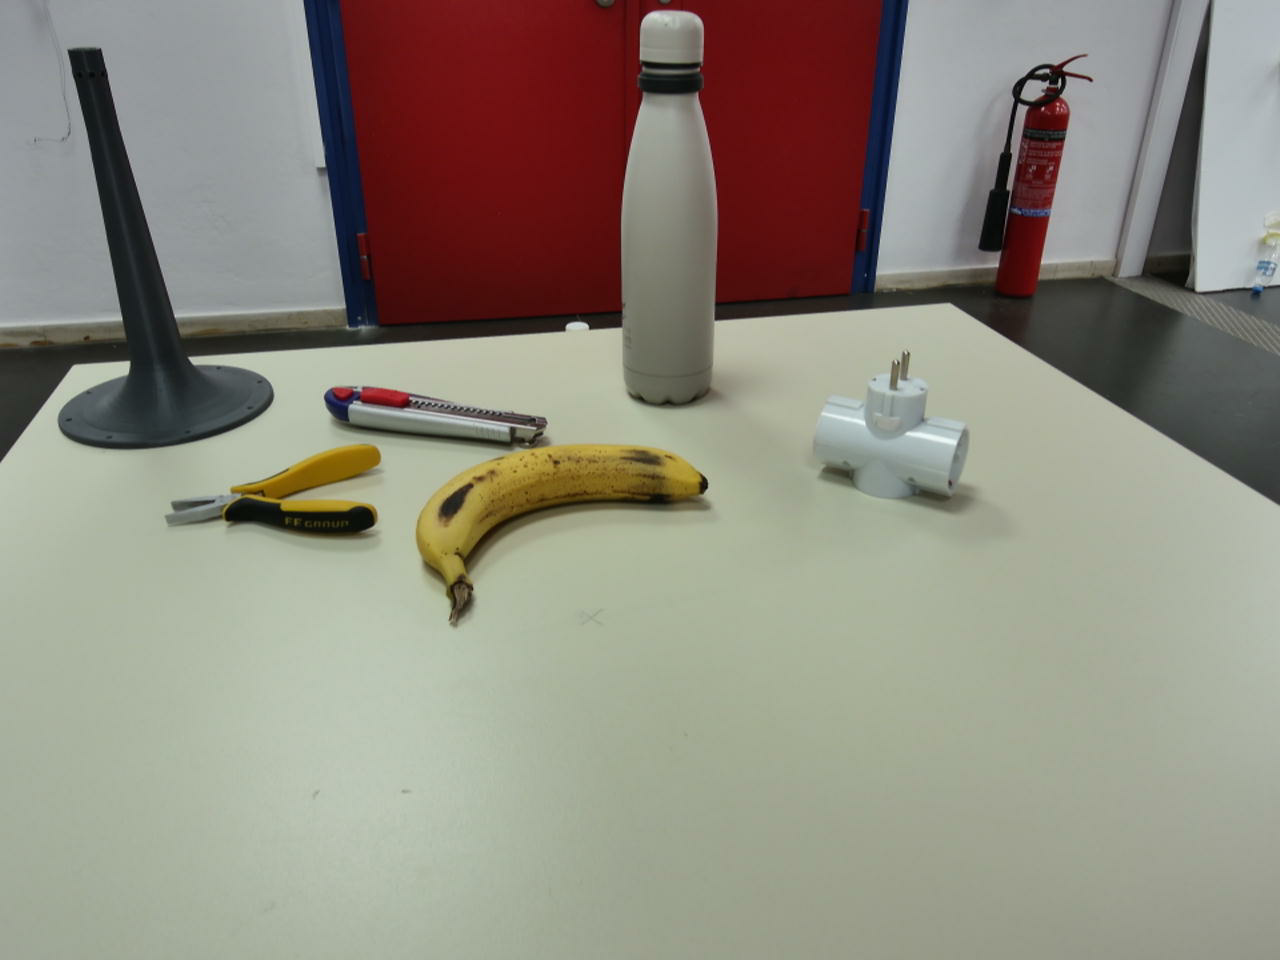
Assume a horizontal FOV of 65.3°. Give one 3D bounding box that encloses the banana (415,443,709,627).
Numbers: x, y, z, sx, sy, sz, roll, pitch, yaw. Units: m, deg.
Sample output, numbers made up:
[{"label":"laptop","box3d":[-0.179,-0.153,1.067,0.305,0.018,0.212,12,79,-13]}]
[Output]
[{"label":"banana","box3d":[-0.055,0.013,0.602,0.186,0.038,0.097,-21,33,-36]}]
